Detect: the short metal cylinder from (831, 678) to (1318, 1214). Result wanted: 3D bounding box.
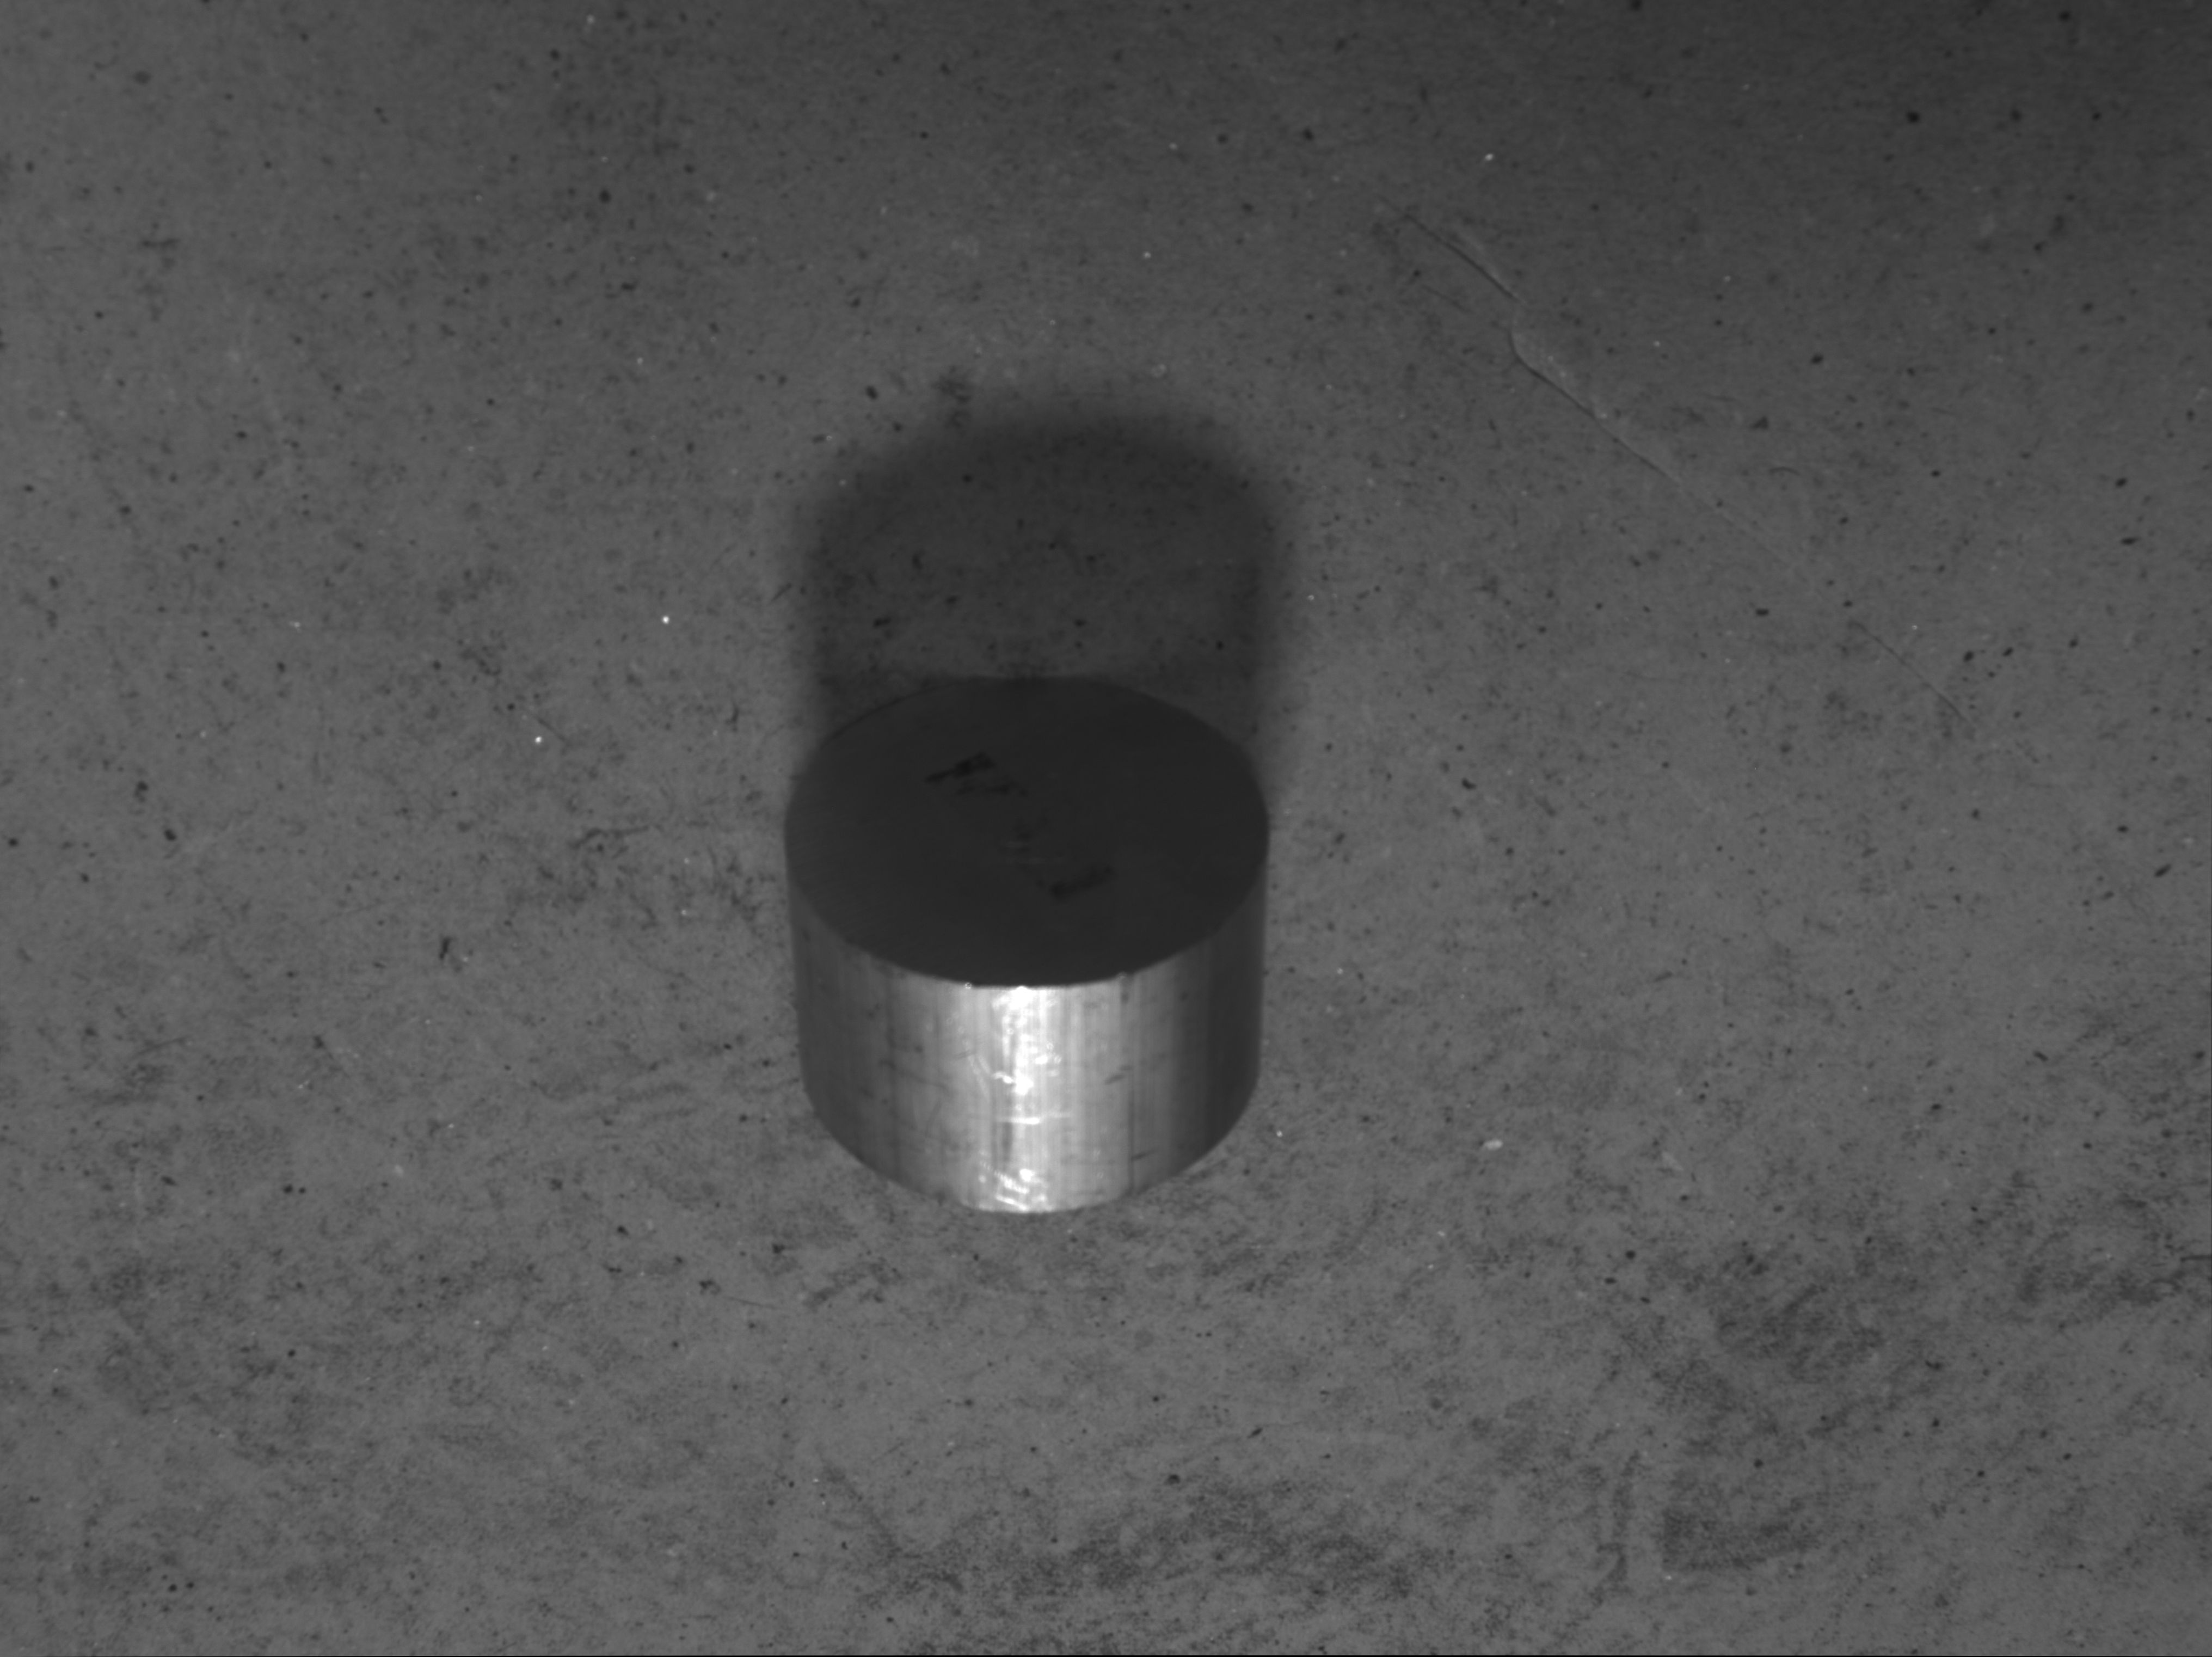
[{"bbox_3d":[-0.005,0.019,0.619,0.080,0.080,0.050,-1,130,-1],"label":"short metal cylinder"}]
